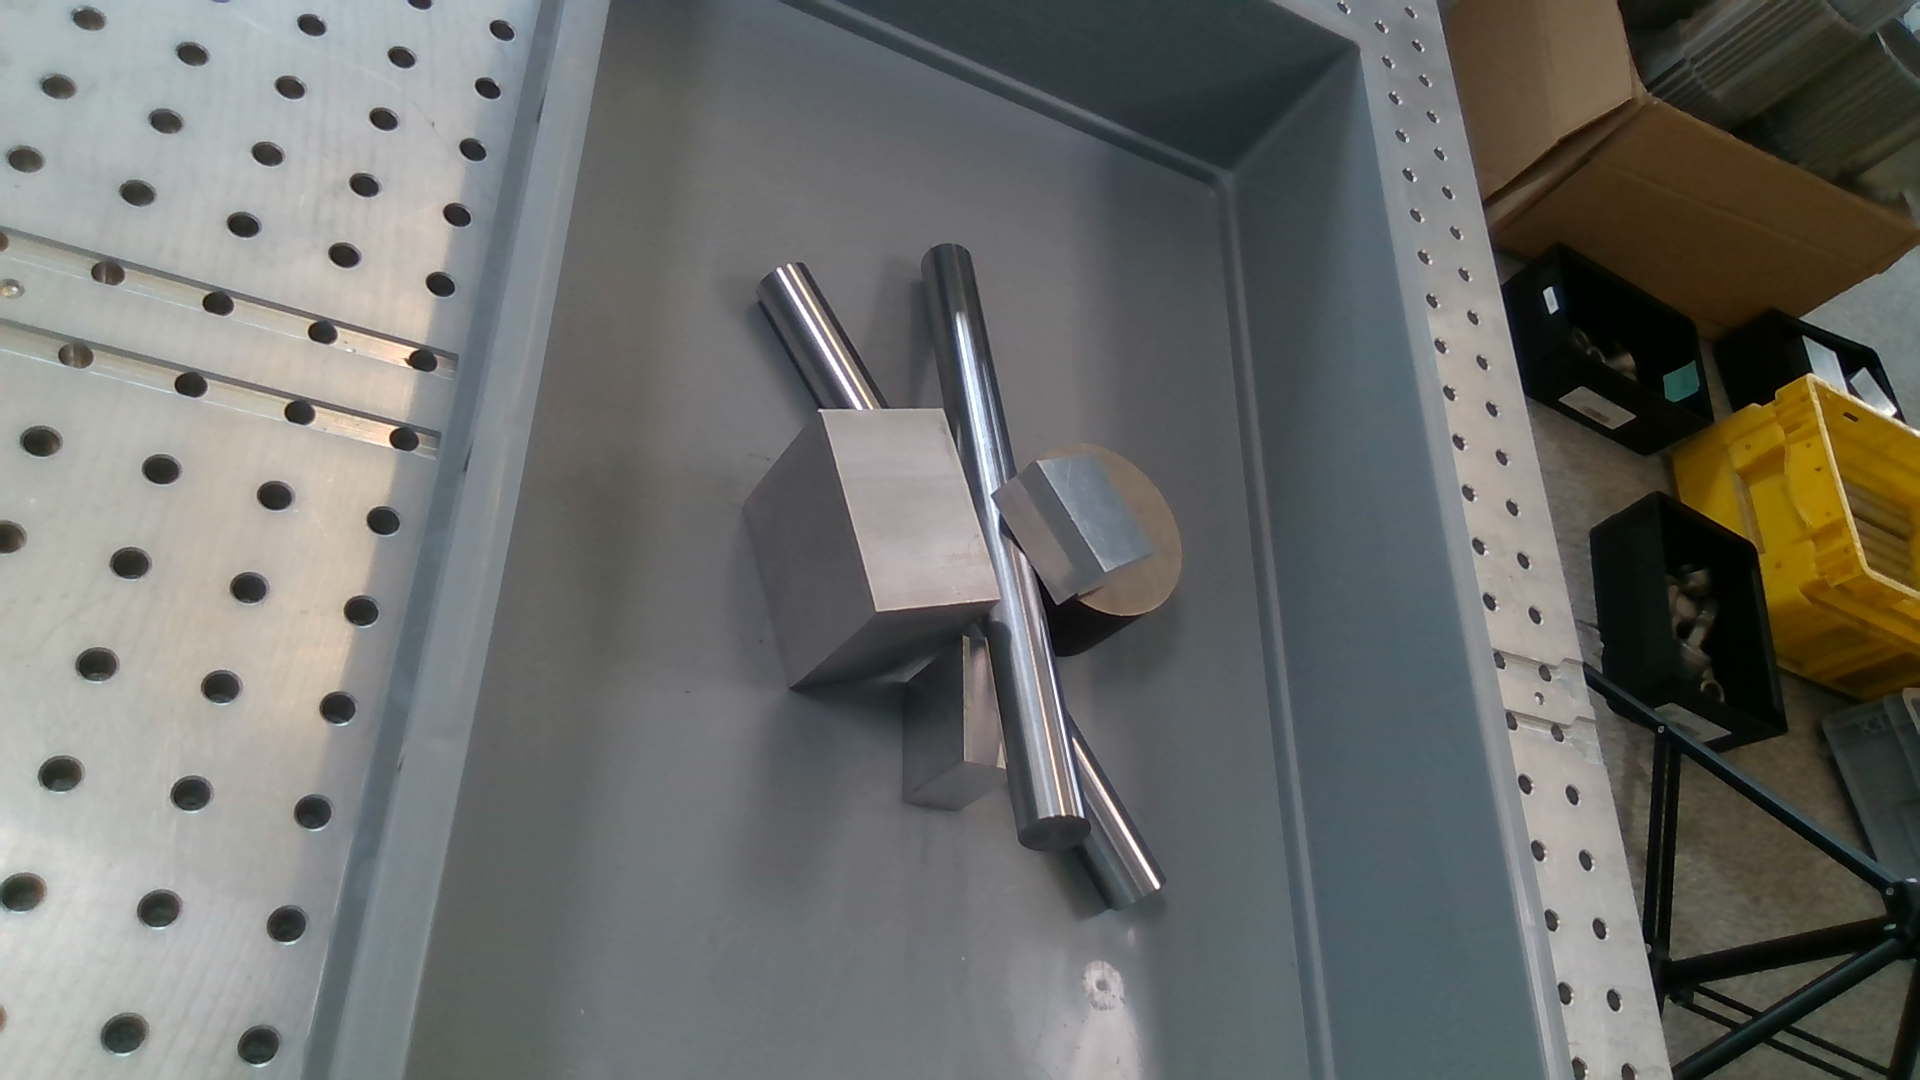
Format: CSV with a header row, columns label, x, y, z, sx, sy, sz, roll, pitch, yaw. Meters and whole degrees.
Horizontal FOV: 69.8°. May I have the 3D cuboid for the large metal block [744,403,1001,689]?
label,x,y,z,sx,sy,sz,roll,pitch,yaw
large metal block,-0.036,0.003,0.525,0.050,0.080,0.080,-4,68,-33

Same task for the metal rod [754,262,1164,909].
label,x,y,z,sx,sy,sz,roll,pitch,yaw
metal rod,-0.003,0.014,0.576,0.025,0.025,0.300,-24,79,-38

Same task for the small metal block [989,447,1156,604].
label,x,y,z,sx,sy,sz,roll,pitch,yaw
small metal block,0.045,-0.007,0.541,0.050,0.025,0.050,59,29,8

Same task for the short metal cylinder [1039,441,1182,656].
label,x,y,z,sx,sy,sz,roll,pitch,yaw
short metal cylinder,0.048,0.004,0.596,0.080,0.050,0.080,15,58,-26

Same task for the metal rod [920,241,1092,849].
label,x,y,z,sx,sy,sz,roll,pitch,yaw
metal rod,0.013,-0.017,0.556,0.025,0.025,0.299,13,46,-25

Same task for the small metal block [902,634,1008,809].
label,x,y,z,sx,sy,sz,roll,pitch,yaw
small metal block,0.000,0.071,0.531,0.025,0.050,0.050,14,57,-25
